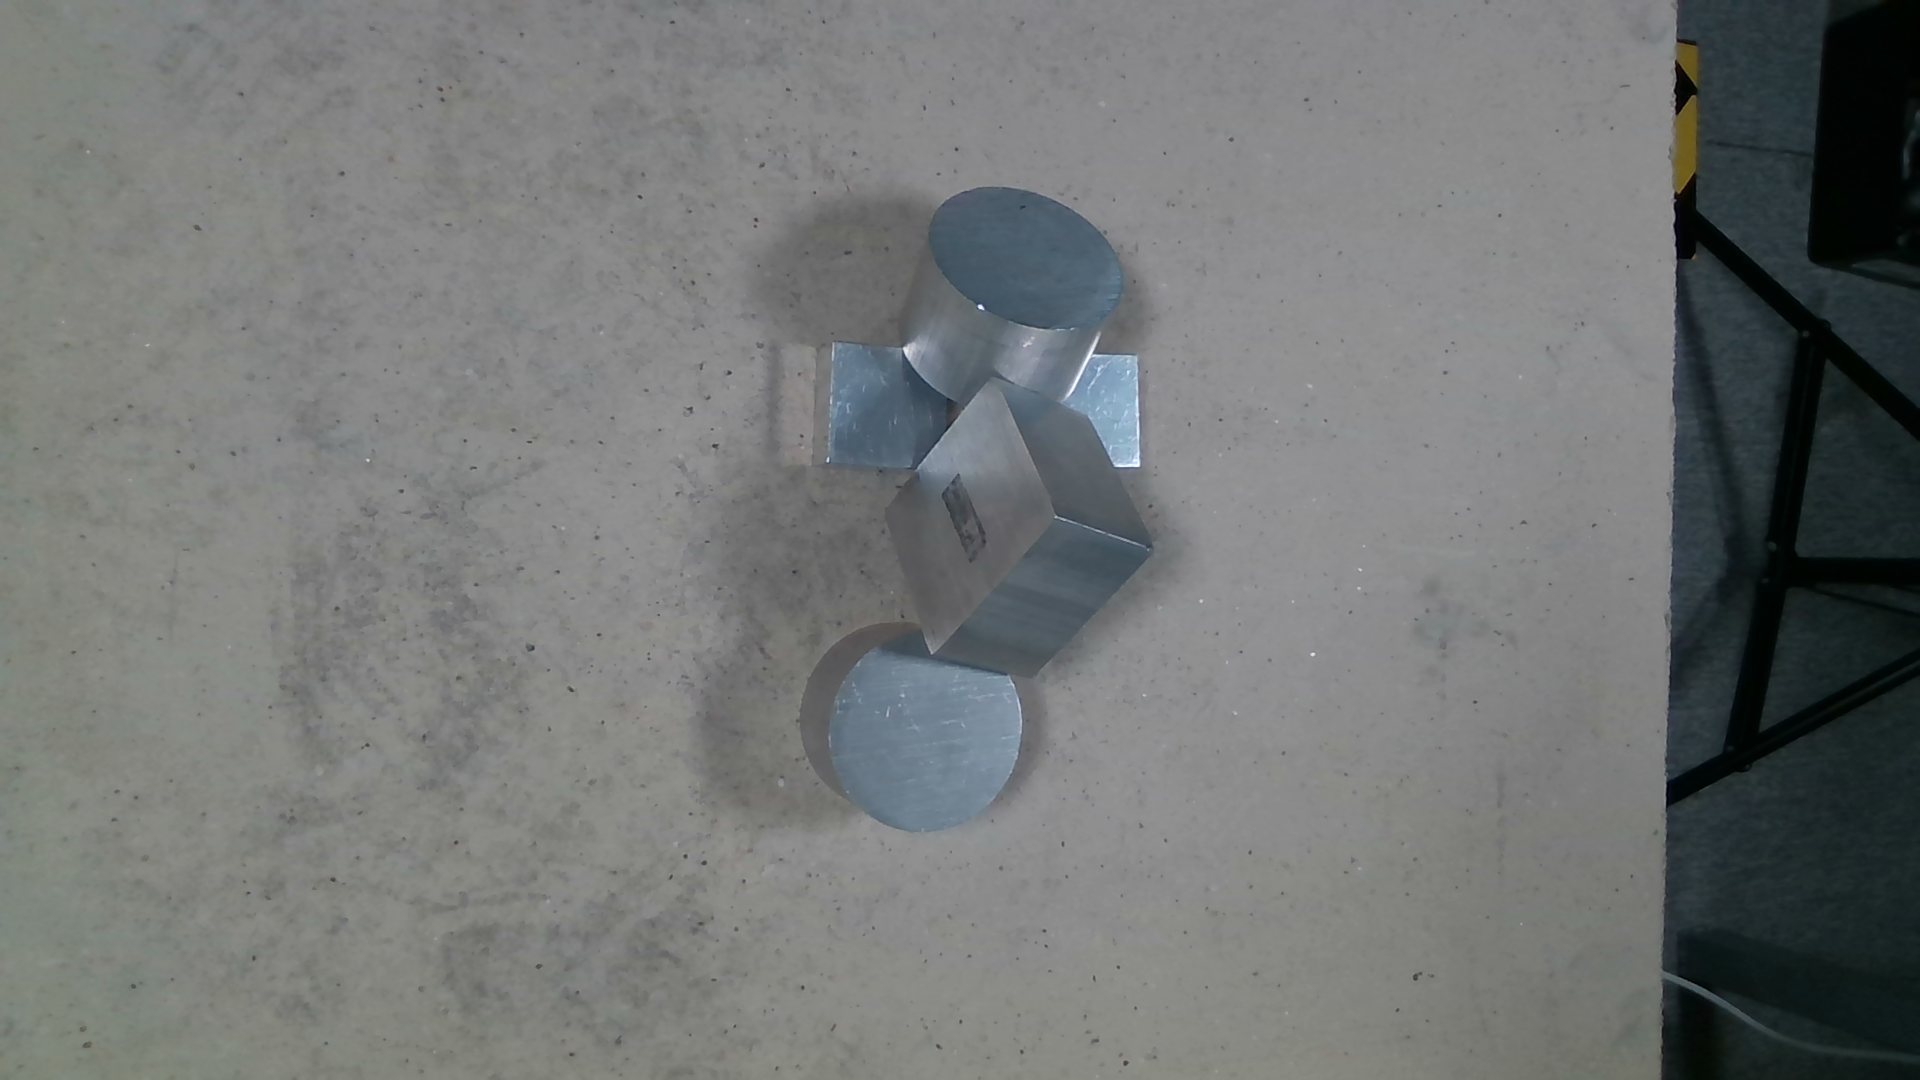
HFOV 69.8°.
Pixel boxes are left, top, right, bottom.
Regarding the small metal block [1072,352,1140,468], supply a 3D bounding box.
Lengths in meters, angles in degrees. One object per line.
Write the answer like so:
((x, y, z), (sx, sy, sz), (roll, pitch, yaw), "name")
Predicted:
((0.050, -0.056, 0.604), (0.050, 0.025, 0.050), (-1, 91, -20), "small metal block")

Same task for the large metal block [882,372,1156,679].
((0.020, -0.005, 0.544), (0.050, 0.080, 0.080), (17, 127, -36), "large metal block")

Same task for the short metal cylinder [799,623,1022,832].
((-0.021, 0.075, 0.565), (0.080, 0.050, 0.080), (0, 90, -20), "short metal cylinder")

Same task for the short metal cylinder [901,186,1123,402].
((0.020, -0.098, 0.560), (0.080, 0.050, 0.080), (10, 52, -12), "short metal cylinder")

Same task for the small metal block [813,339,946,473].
((-0.034, -0.055, 0.573), (0.050, 0.025, 0.050), (3, 89, -20), "small metal block")
